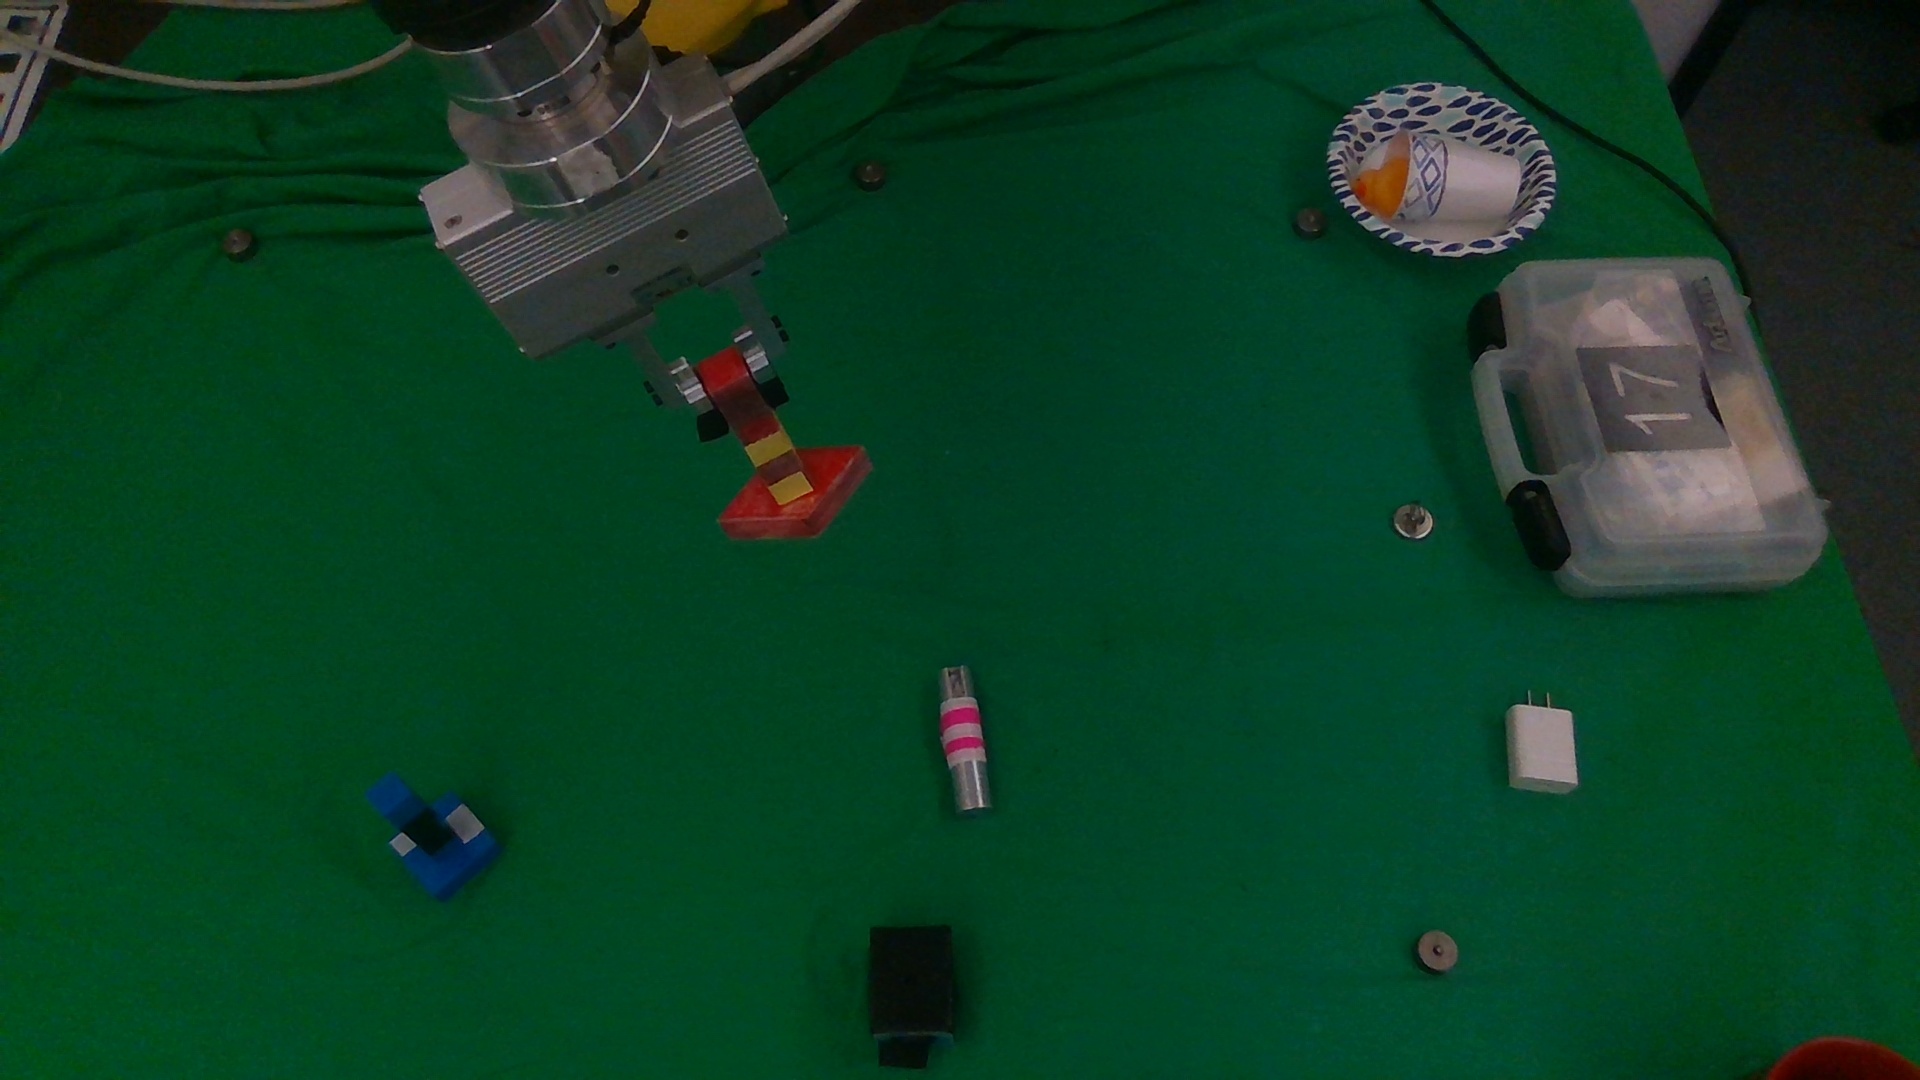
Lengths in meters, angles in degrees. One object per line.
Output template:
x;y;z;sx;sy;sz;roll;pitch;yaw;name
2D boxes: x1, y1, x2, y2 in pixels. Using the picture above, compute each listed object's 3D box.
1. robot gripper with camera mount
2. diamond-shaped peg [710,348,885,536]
-0.149;-0.155;0.629;0.119;0.158;0.194;-30;56;-4;robot gripper with camera mount
-0.090;-0.048;0.675;0.045;0.121;0.074;33;74;26;diamond-shaped peg
